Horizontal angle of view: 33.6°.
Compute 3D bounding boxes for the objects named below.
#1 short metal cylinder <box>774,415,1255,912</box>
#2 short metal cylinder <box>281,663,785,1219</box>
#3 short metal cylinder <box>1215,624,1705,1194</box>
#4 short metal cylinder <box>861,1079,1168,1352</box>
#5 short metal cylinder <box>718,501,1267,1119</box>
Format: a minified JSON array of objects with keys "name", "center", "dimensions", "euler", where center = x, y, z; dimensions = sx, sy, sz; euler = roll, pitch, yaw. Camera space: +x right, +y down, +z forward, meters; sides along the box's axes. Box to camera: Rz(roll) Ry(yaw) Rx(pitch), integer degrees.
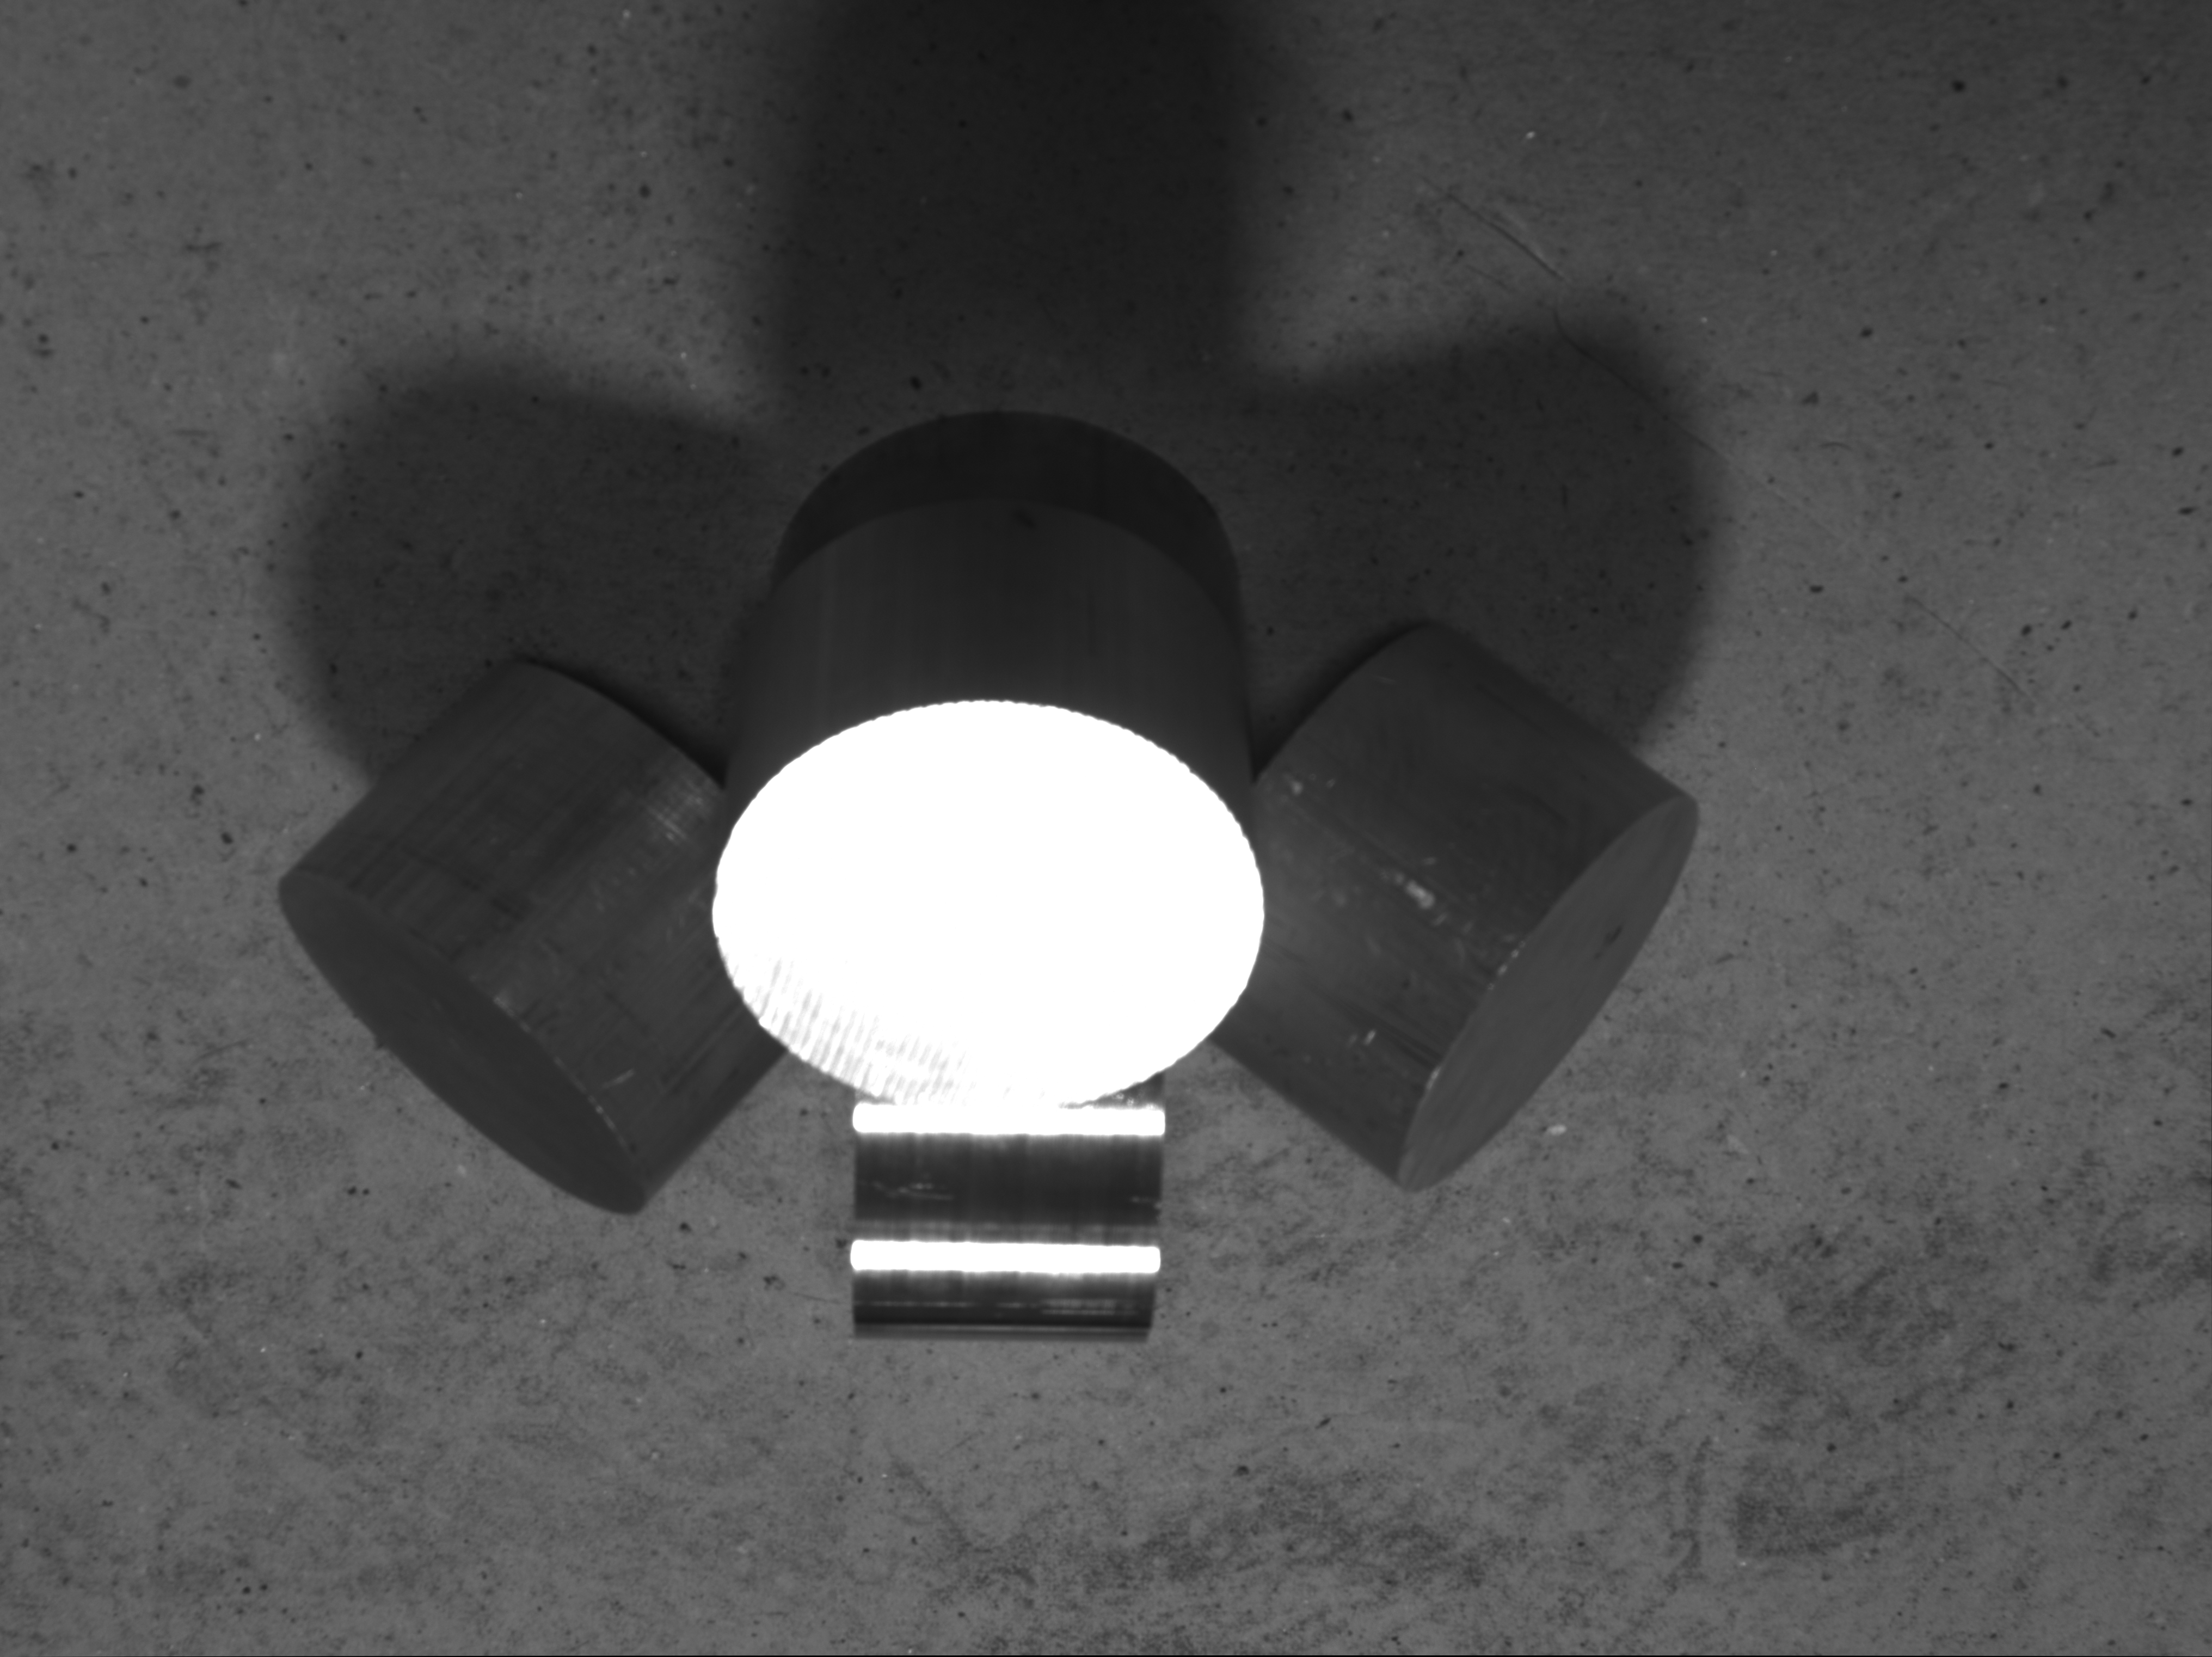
[{"name":"short metal cylinder","center":[-0.016,-0.021,0.604],"dimensions":[0.080,0.050,0.080],"euler":[-1,130,-1]},{"name":"short metal cylinder","center":[-0.090,0.019,0.609],"dimensions":[0.080,0.050,0.080],"euler":[34,157,18]},{"name":"short metal cylinder","center":[0.055,0.013,0.608],"dimensions":[0.050,0.080,0.080],"euler":[36,130,19]},{"name":"short metal cylinder","center":[-0.017,0.052,0.644],"dimensions":[0.050,0.080,0.080],"euler":[1,130,-3]},{"name":"short metal cylinder","center":[-0.017,-0.002,0.554],"dimensions":[0.080,0.050,0.080],"euler":[-1,130,-1]}]
